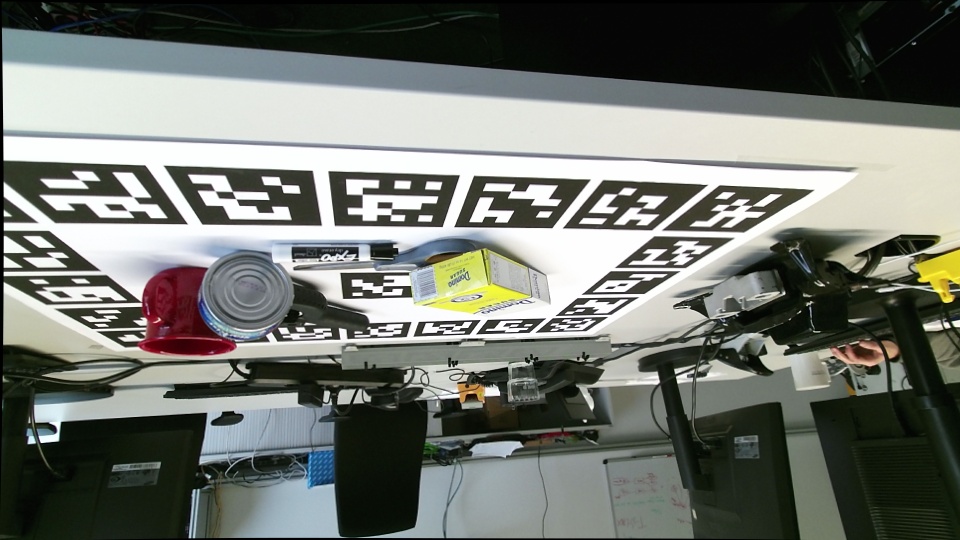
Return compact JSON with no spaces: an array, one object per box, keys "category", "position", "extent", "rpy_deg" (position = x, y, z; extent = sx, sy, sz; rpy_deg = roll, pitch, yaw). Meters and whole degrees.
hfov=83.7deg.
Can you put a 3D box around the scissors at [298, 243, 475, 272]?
[{"category":"scissors","position":[-0.097,-0.005,0.591],"extent":[0.203,0.016,0.088],"rpy_deg":[-3,161,-2]}]

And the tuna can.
[{"category":"tuna can","position":[-0.237,0.020,0.541],"extent":[0.086,0.085,0.034],"rpy_deg":[7,155,-28]}]

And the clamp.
[{"category":"clamp","position":[-0.239,0.045,0.691],"extent":[0.166,0.036,0.203],"rpy_deg":[-4,157,-3]}]

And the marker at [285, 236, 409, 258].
[{"category":"marker","position":[-0.133,-0.024,0.545],"extent":[0.121,0.019,0.020],"rpy_deg":[-2,156,-9]}]

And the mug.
[{"category":"mug","position":[-0.306,0.037,0.578],"extent":[0.093,0.081,0.117],"rpy_deg":[-11,160,13]}]

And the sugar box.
[{"category":"sugar box","position":[0.005,0.018,0.629],"extent":[0.093,0.045,0.177],"rpy_deg":[-15,162,22]}]
